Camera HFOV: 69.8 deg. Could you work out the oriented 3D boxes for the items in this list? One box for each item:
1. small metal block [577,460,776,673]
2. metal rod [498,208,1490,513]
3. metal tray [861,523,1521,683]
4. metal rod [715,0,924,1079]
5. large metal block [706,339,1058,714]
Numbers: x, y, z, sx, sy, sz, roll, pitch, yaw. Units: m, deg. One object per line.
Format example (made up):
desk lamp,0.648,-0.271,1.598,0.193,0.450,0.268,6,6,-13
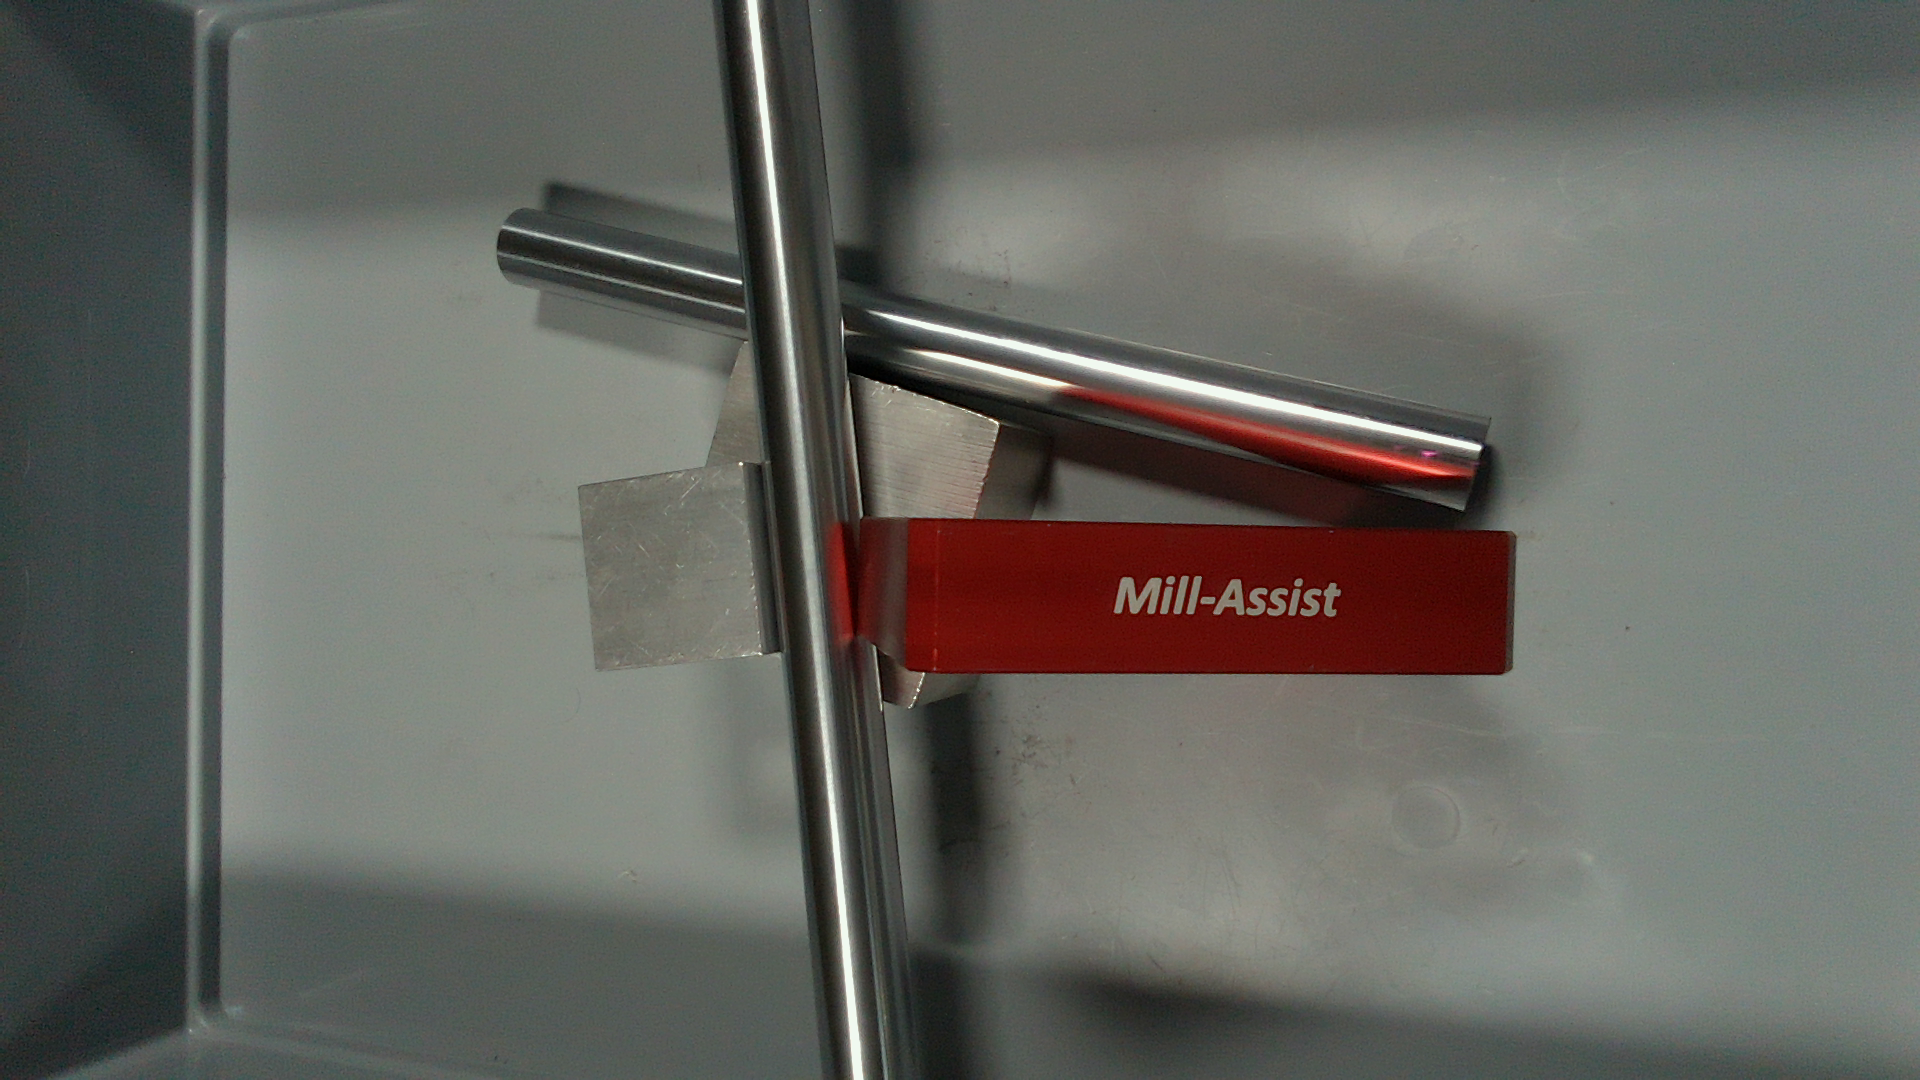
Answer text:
small metal block,-0.071,0.008,0.367,0.050,0.025,0.050,-7,87,20
metal rod,-0.005,-0.057,0.397,0.299,0.025,0.025,16,95,19
metal tray,0.046,0.012,0.315,0.130,0.090,0.030,1,91,-11
metal rod,-0.037,-0.003,0.355,0.025,0.025,0.300,-7,88,20
large metal block,-0.027,-0.005,0.392,0.080,0.050,0.080,19,96,19
